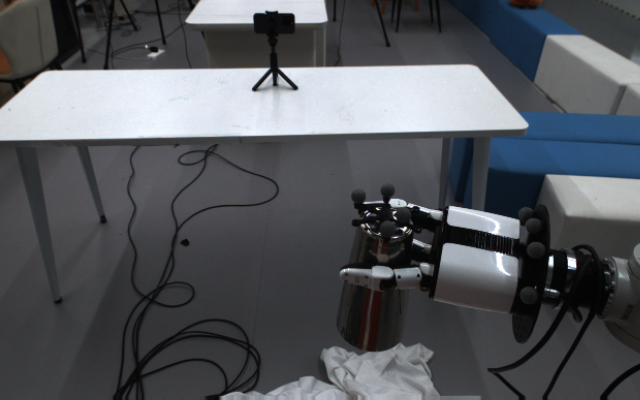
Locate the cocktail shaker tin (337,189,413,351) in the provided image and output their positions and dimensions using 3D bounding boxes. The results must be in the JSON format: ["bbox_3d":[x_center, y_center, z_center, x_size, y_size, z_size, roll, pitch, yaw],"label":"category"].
[{"bbox_3d":[0.075,0.094,0.609,0.093,0.170,0.093,3,33,-2],"label":"cocktail shaker tin"}]
